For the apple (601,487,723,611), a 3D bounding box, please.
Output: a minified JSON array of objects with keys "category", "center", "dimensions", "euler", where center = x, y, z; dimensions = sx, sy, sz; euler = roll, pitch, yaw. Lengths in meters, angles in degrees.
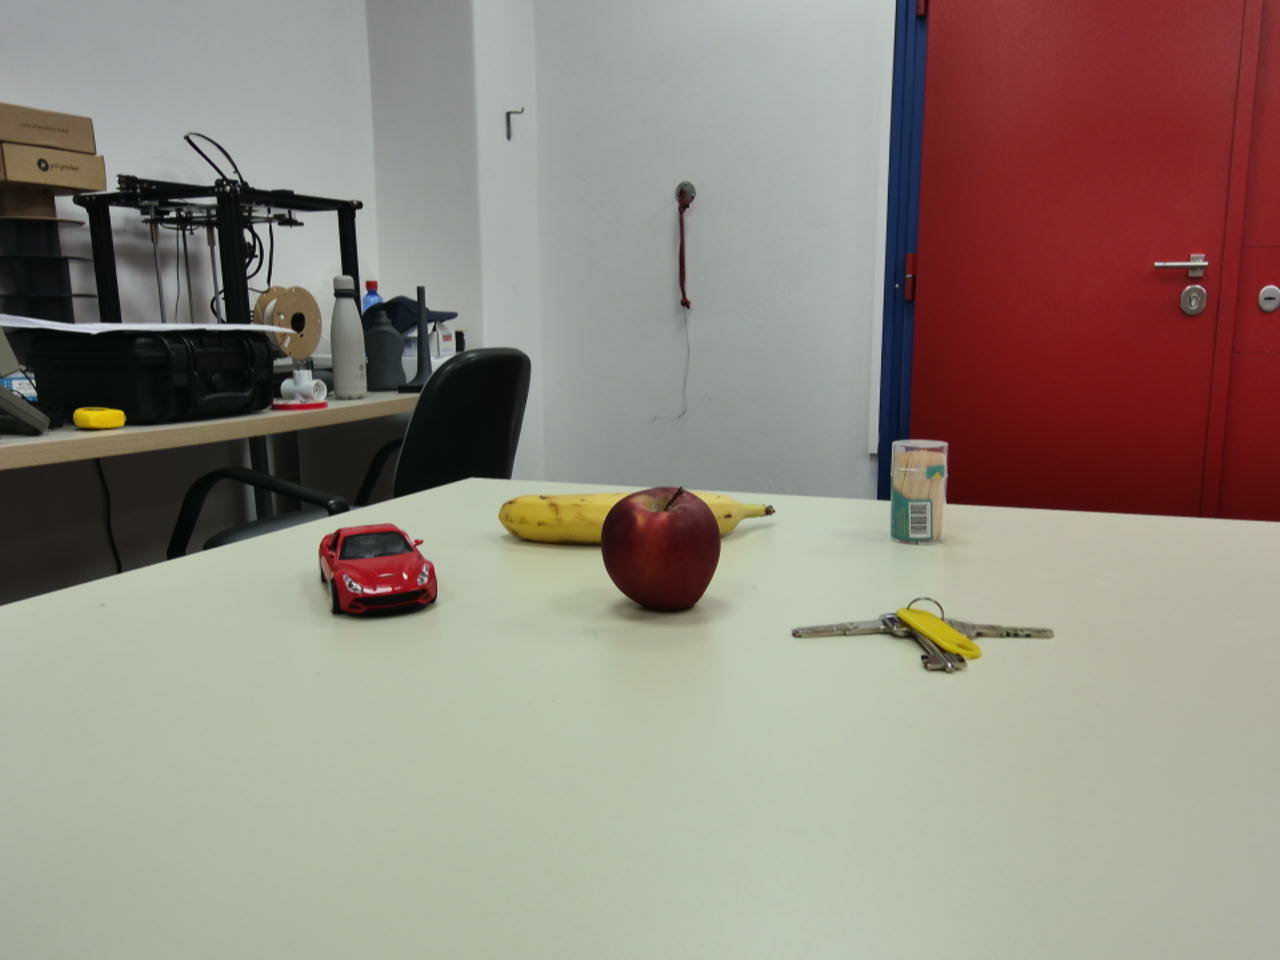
[{"category":"apple","center":[0.013,0.039,0.579],"dimensions":[0.070,0.072,0.070],"euler":[0,7,0]}]
